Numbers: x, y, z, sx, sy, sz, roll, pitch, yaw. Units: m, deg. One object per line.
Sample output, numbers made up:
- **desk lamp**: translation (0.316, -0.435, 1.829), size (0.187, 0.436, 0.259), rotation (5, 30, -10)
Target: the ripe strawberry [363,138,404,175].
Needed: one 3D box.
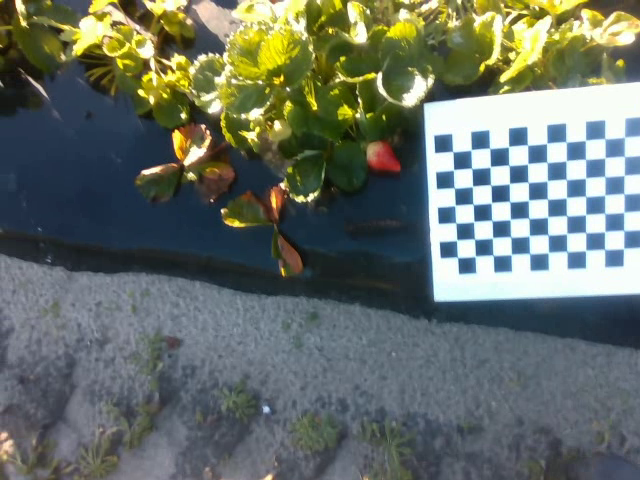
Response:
- **ripe strawberry**: translation (0.093, -0.116, 0.913), size (0.065, 0.040, 0.040), rotation (37, 12, 0)
